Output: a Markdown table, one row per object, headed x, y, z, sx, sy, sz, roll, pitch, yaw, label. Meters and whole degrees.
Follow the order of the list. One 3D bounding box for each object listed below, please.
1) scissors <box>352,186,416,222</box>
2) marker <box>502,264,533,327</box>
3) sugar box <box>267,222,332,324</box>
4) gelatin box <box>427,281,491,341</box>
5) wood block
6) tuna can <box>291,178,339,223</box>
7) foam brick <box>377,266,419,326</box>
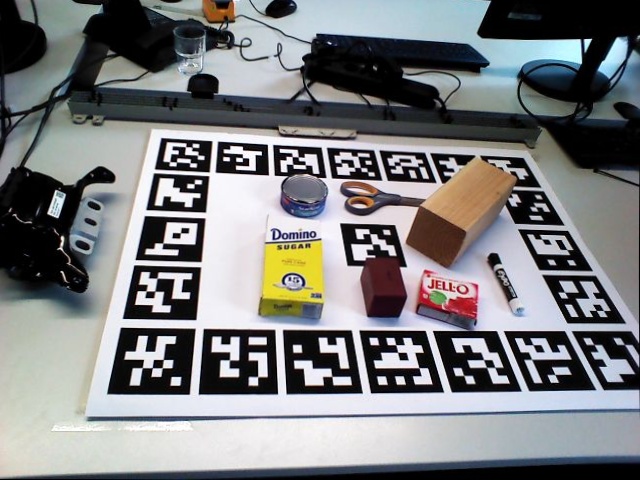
| x | y | z | sx | sy | sz | roll | pitch | yaw | label |
| --- | --- | --- | --- | --- | --- | --- | --- | --- | --- |
| 0.160 | -0.060 | 0.971 | 0.203 | 0.016 | 0.087 | 7 | 46 | 0 | scissors |
| 0.323 | 0.088 | 0.850 | 0.019 | 0.020 | 0.120 | 4 | 48 | -6 | marker |
| -0.028 | 0.047 | 0.817 | 0.093 | 0.045 | 0.175 | 7 | 46 | -4 | sugar box |
| 0.217 | 0.108 | 0.808 | 0.089 | 0.030 | 0.073 | 16 | 47 | 7 | gelatin box |
| 0.283 | -0.032 | 0.917 | 0.090 | 0.091 | 0.205 | 35 | 50 | 24 | wood block |
| -0.010 | -0.072 | 0.937 | 0.086 | 0.034 | 0.085 | 5 | 46 | -5 | tuna can |
| 0.116 | 0.086 | 0.792 | 0.053 | 0.051 | 0.077 | 4 | 47 | -5 | foam brick |
